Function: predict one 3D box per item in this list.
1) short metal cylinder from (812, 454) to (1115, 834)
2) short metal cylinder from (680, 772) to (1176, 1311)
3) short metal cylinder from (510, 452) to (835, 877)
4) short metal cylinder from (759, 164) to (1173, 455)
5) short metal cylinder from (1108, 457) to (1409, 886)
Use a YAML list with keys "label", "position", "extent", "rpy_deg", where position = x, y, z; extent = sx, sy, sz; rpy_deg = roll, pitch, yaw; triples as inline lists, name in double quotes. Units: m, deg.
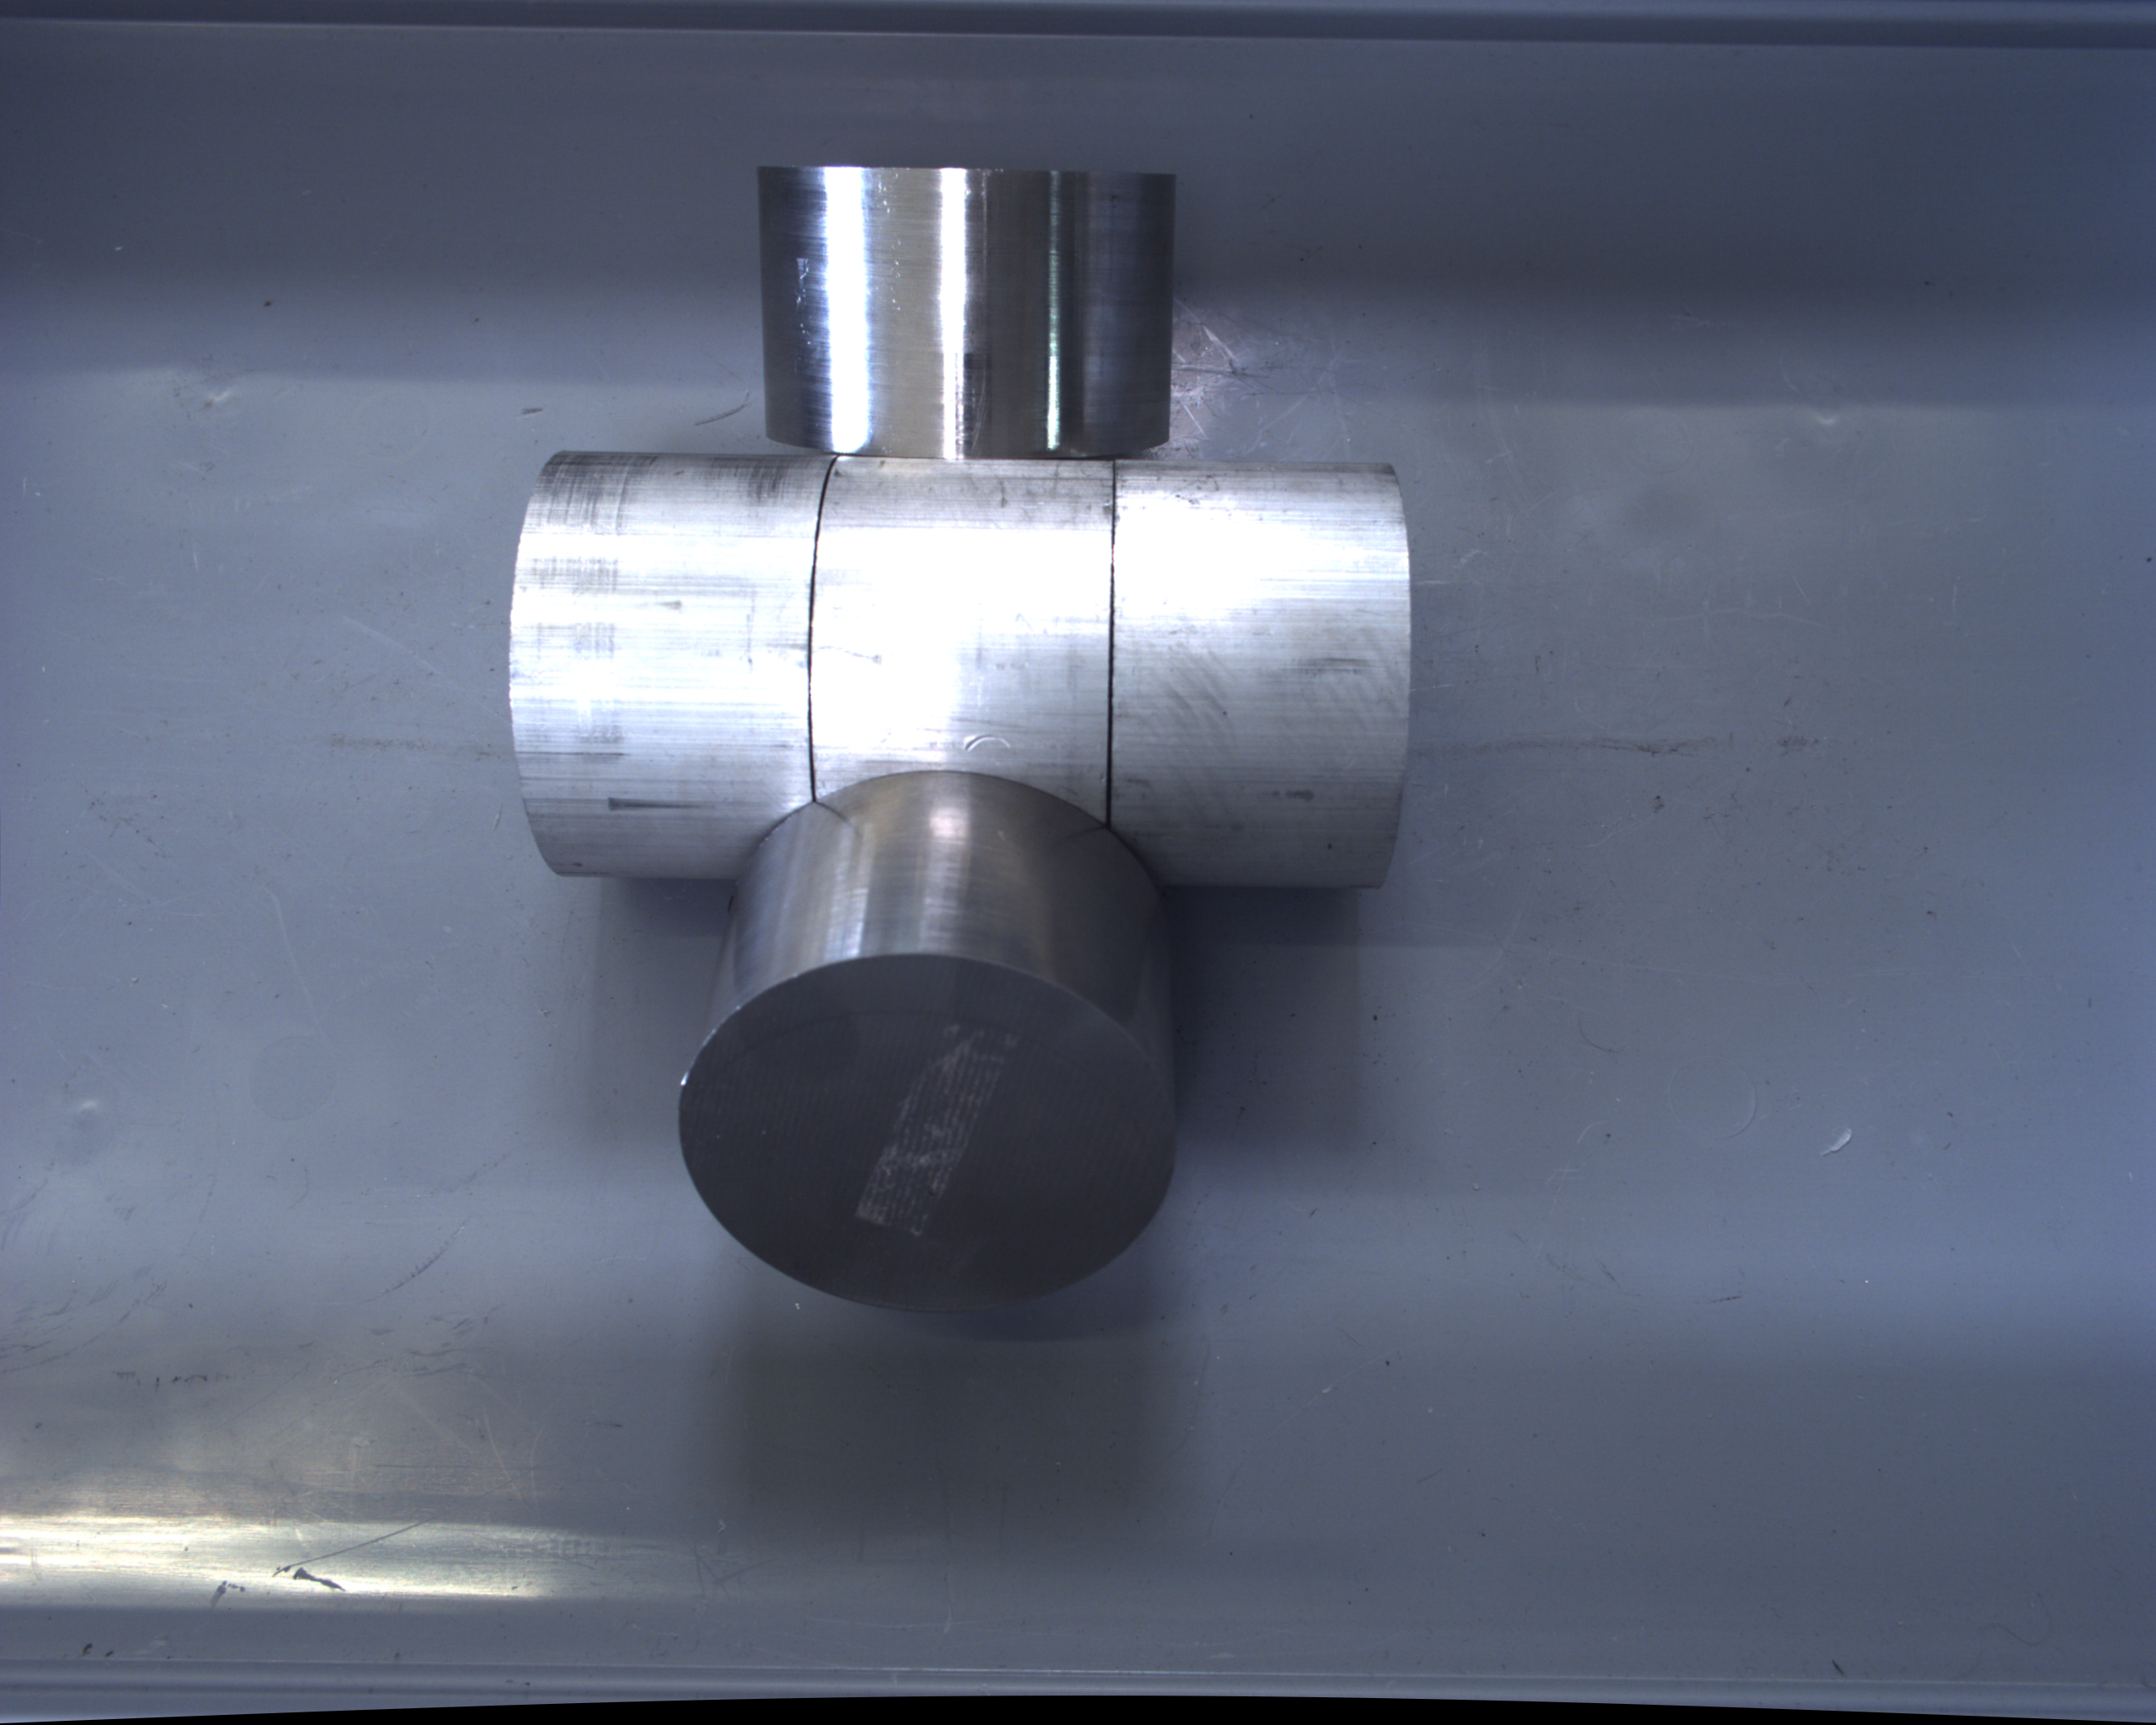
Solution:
- label: "short metal cylinder"
  position: [-0.019, -0.036, 0.391]
  extent: [0.050, 0.080, 0.080]
  rpy_deg: [1, 70, 1]
- label: "short metal cylinder"
  position: [-0.024, 0.031, 0.359]
  extent: [0.081, 0.079, 0.050]
  rpy_deg: [0, 36, 0]
- label: "short metal cylinder"
  position: [-0.070, -0.037, 0.392]
  extent: [0.050, 0.080, 0.080]
  rpy_deg: [1, 70, 1]
- label: "short metal cylinder"
  position: [-0.022, -0.110, 0.411]
  extent: [0.080, 0.080, 0.050]
  rpy_deg: [2, 108, 0]
- label: "short metal cylinder"
  position: [0.031, -0.035, 0.392]
  extent: [0.050, 0.080, 0.080]
  rpy_deg: [1, 70, 1]
